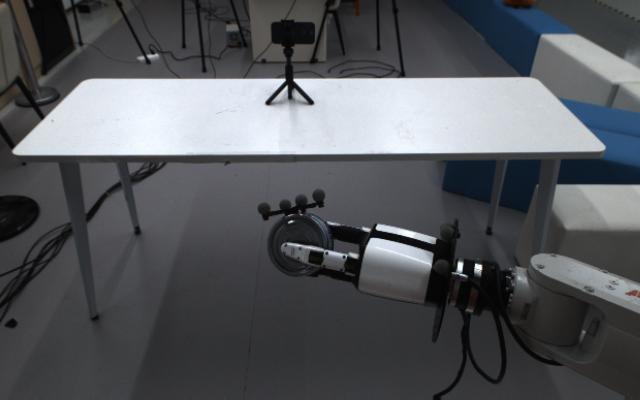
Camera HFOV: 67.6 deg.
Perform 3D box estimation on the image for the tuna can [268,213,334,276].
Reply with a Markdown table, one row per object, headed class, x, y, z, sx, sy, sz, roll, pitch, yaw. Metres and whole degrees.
| class | x | y | z | sx | sy | sz | roll | pitch | yaw |
| --- | --- | --- | --- | --- | --- | --- | --- | --- | --- |
| tuna can | -0.022 | 0.065 | 0.647 | 0.085 | 0.085 | 0.034 | 12 | 3 | 14 |
